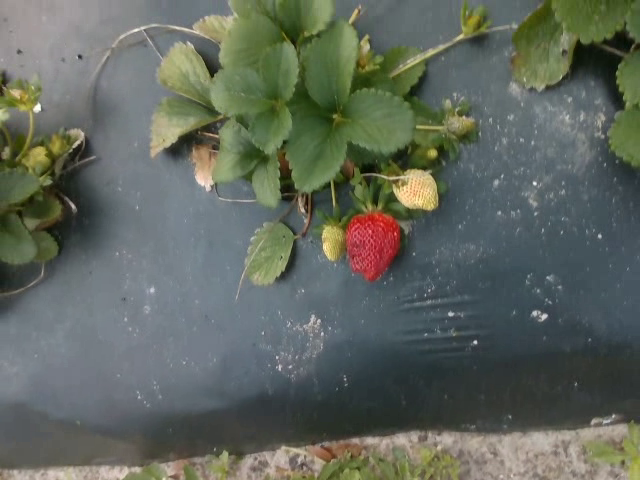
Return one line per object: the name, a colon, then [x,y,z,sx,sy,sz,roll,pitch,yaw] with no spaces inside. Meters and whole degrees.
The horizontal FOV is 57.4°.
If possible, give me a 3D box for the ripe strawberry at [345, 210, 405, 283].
ripe strawberry: [0.039,0.007,0.428,0.046,0.059,0.046,-9,-35,25]
